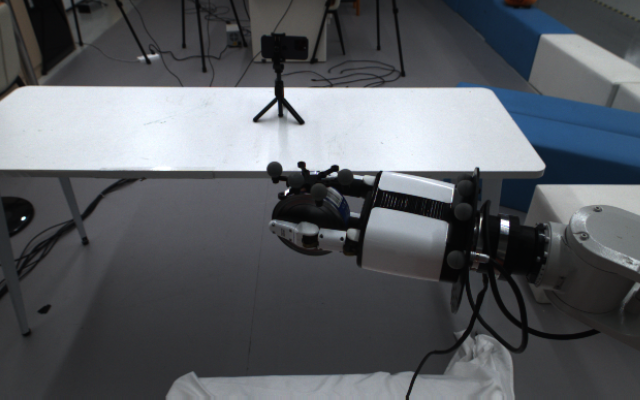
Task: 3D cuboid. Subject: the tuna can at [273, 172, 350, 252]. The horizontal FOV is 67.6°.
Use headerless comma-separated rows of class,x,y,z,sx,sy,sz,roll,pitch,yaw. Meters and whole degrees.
tuna can,-0.008,0.018,0.554,0.085,0.085,0.034,10,34,12
